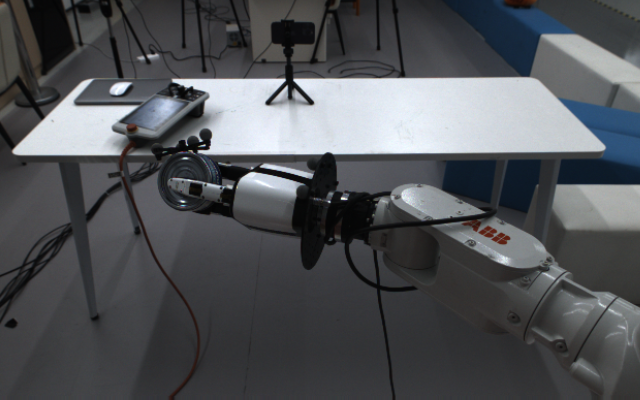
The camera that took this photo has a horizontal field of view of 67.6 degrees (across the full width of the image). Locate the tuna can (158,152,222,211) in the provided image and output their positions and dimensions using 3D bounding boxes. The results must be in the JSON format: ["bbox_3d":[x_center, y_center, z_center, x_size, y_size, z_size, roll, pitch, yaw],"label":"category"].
[{"bbox_3d":[-0.185,-0.026,0.687,0.085,0.085,0.034,12,3,14],"label":"tuna can"}]
